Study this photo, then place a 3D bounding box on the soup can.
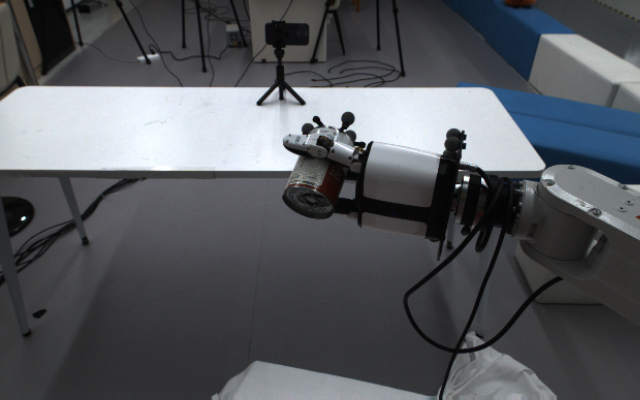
[{"bbox_3d":[0.000,-0.038,0.619,0.067,0.067,0.101,12,59,14],"label":"soup can"}]
